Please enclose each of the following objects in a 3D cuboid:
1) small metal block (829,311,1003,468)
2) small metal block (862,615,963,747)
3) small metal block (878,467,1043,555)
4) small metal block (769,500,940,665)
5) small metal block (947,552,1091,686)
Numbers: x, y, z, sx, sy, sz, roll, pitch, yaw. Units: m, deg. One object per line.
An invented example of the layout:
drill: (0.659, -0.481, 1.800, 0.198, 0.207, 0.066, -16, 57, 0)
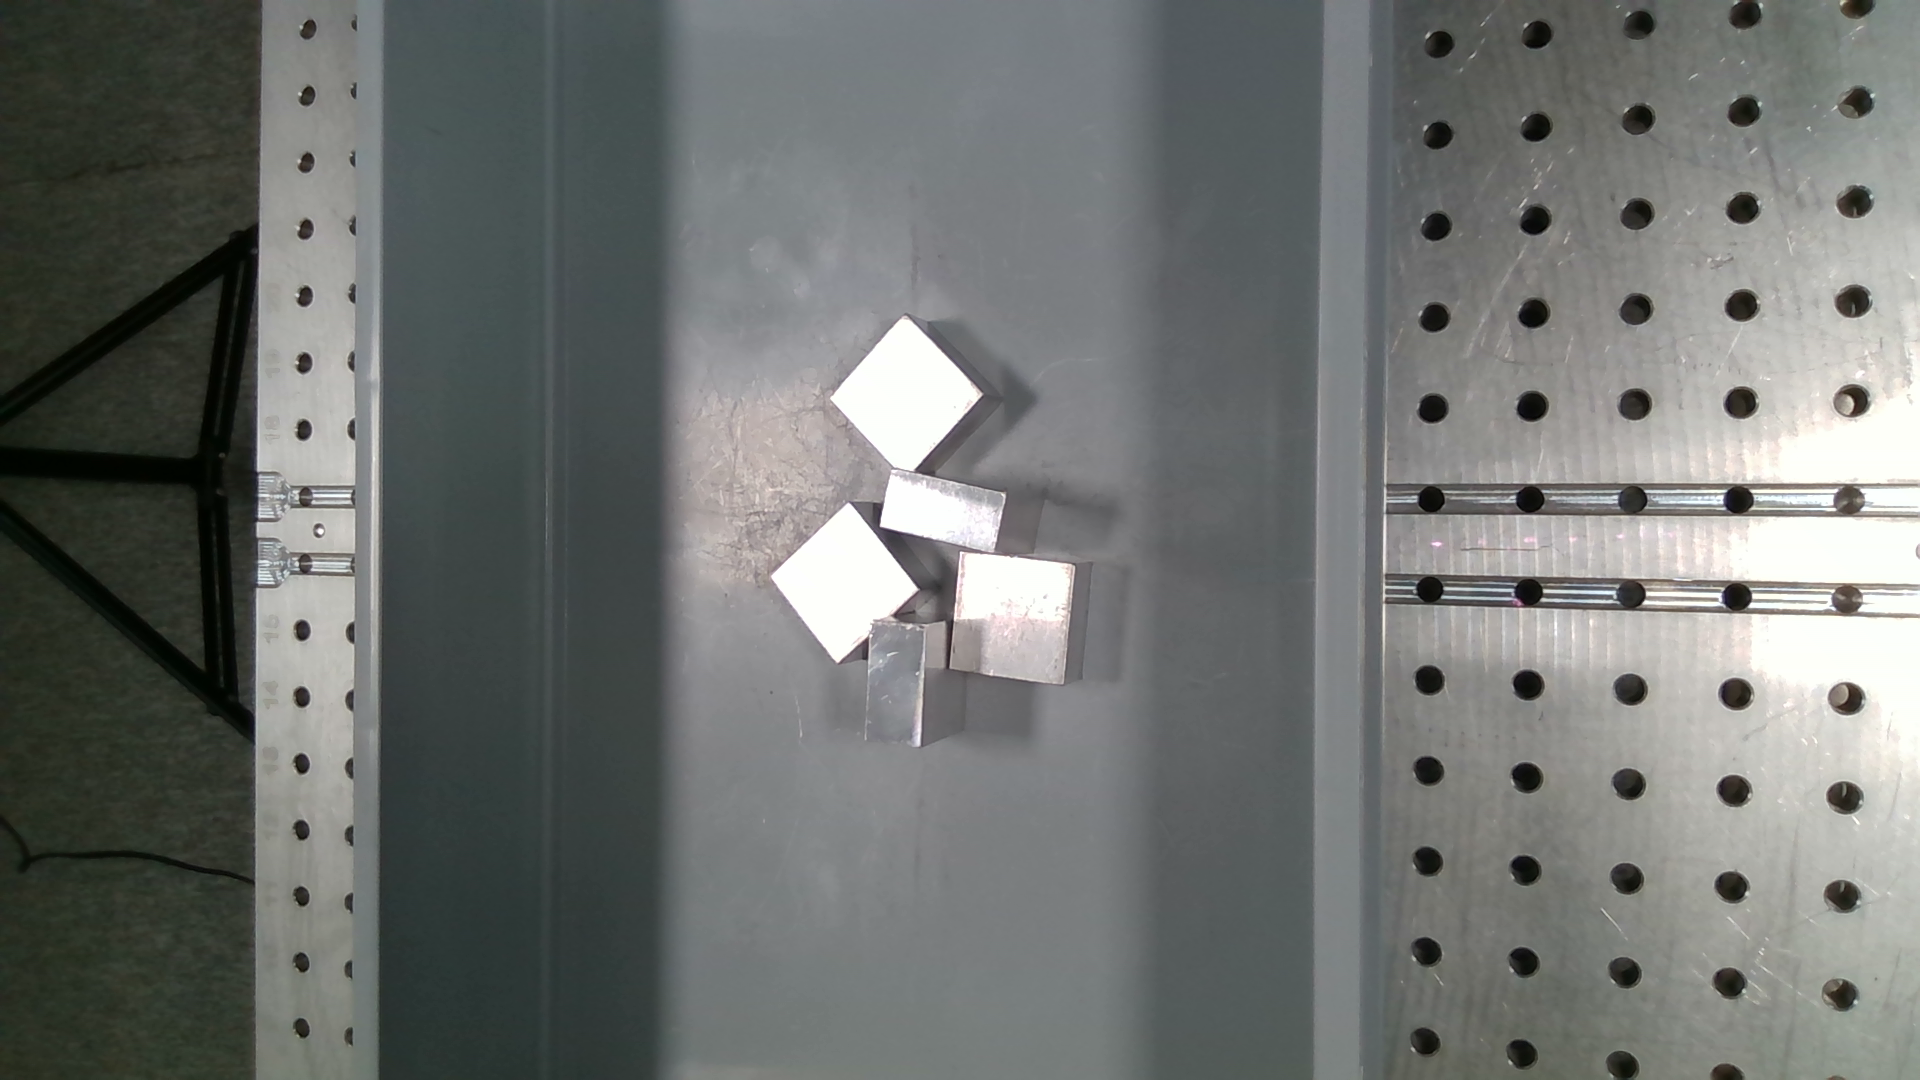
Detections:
small metal block: (-0.019, -0.061, 0.590, 0.050, 0.025, 0.050, 47, 105, 14)
small metal block: (-0.018, 0.057, 0.578, 0.025, 0.050, 0.050, 3, 91, 20)
small metal block: (0.001, -0.012, 0.570, 0.050, 0.050, 0.025, 13, 95, 20)
small metal block: (-0.046, 0.018, 0.601, 0.050, 0.025, 0.050, -43, 77, 16)
small metal block: (0.025, 0.031, 0.575, 0.050, 0.025, 0.050, 7, 93, 20)
